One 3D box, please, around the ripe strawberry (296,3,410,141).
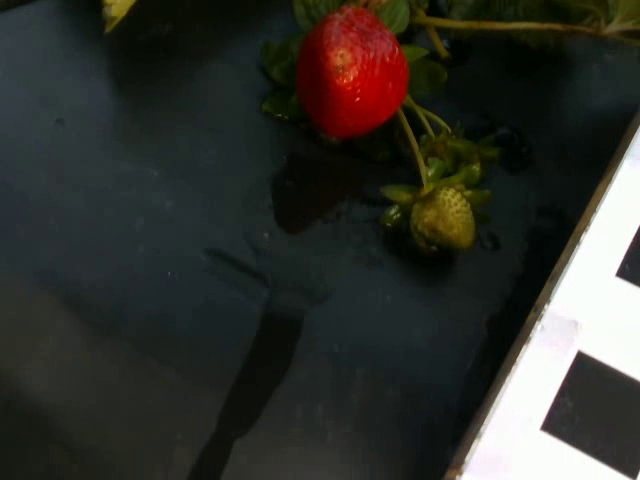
[{"bbox_3d":[0.011,-0.058,0.218,0.043,0.052,0.057,2,7,11],"label":"ripe strawberry"}]
